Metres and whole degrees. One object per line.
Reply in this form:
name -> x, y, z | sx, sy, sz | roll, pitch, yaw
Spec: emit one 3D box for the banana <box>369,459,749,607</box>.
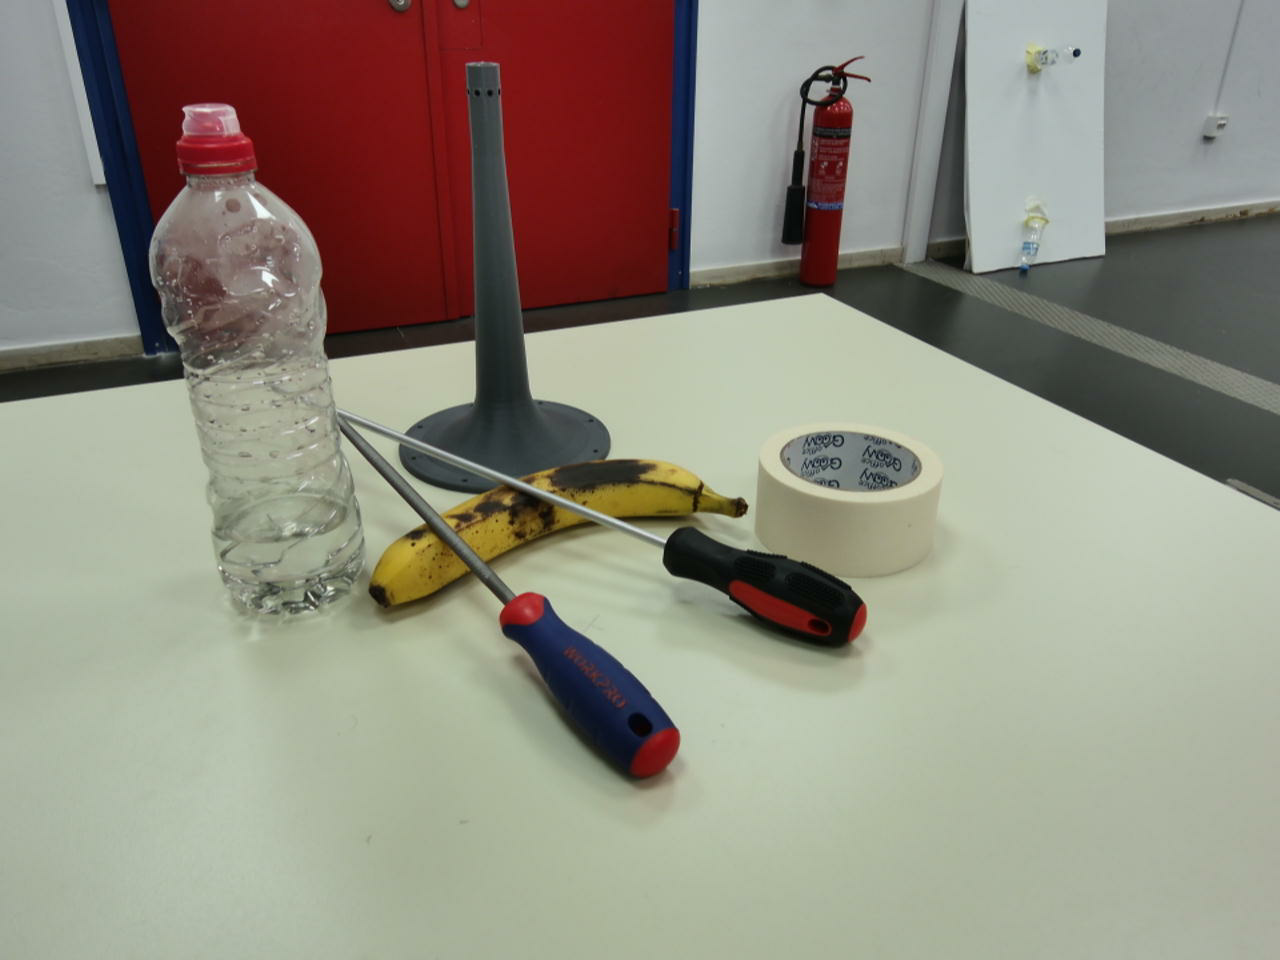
banana -> -0.052, 0.022, 0.580 | 0.222, 0.037, 0.084 | -11, 28, -22
